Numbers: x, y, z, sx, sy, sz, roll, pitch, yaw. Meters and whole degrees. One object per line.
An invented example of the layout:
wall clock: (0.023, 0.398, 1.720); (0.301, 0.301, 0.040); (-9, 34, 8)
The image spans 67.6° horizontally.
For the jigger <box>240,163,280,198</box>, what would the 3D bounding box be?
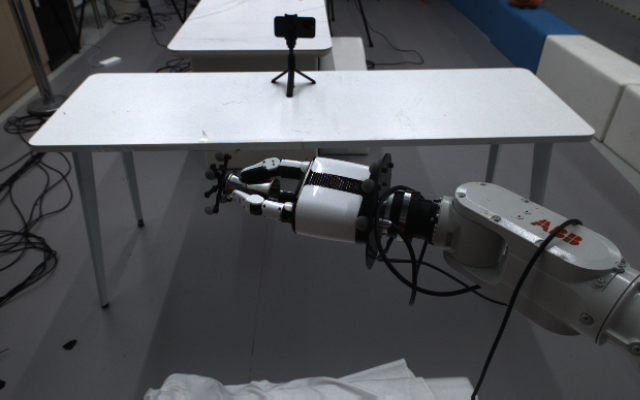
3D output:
jigger: (-0.091, -0.017, 0.699); (0.071, 0.043, 0.043); (11, 36, 15)
